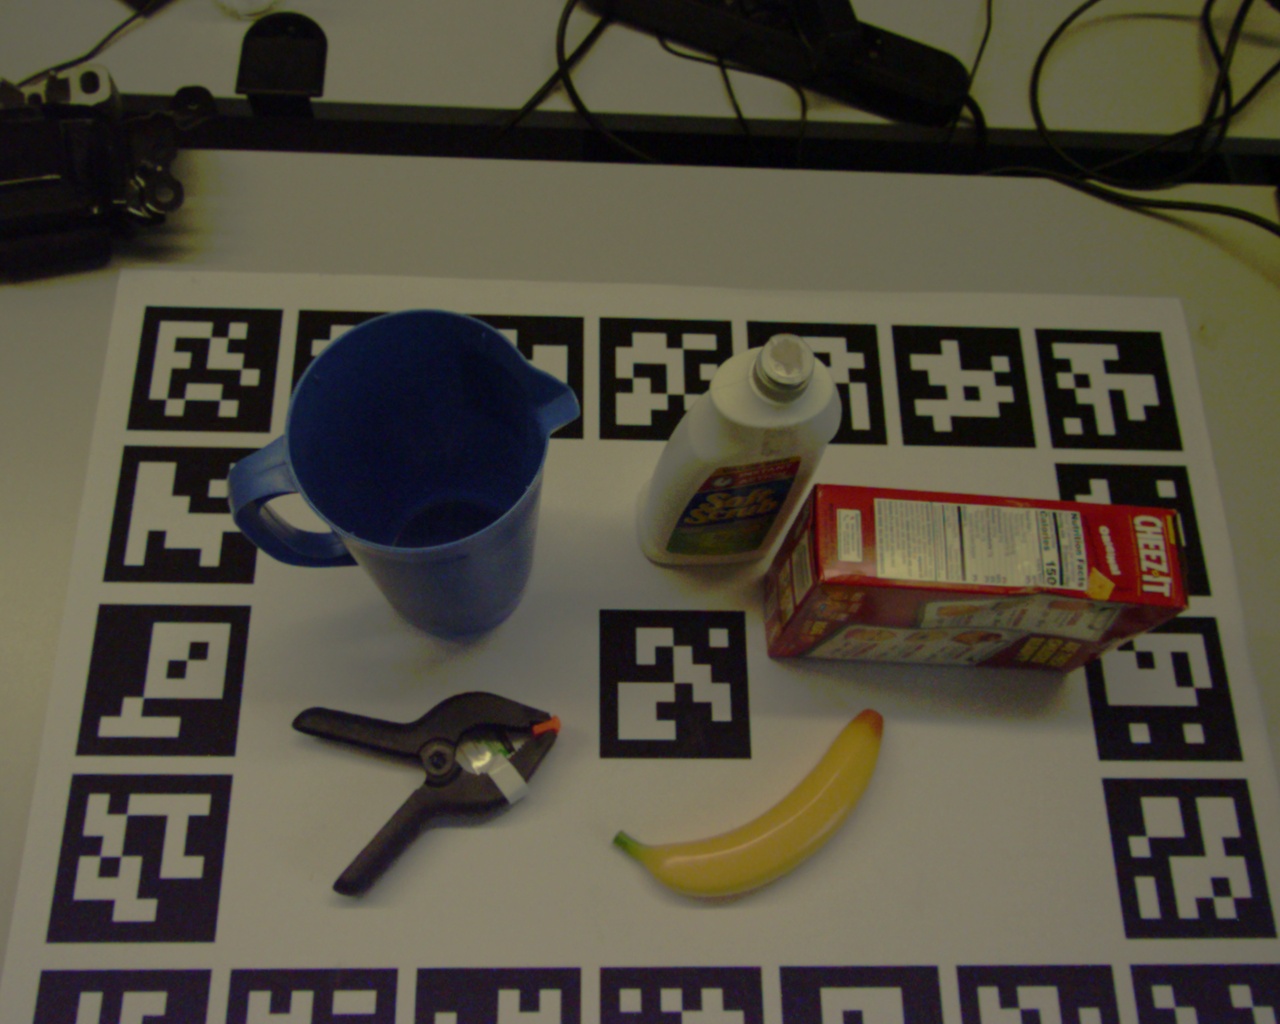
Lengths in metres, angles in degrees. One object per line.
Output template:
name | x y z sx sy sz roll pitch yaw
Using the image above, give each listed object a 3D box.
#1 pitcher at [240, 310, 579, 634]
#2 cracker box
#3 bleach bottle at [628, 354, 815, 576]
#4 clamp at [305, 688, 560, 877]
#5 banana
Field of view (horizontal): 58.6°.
pitcher | -0.135 -0.004 0.705 0.188 0.242 0.134 -15 70 -12
cracker box | 0.202 0.056 0.749 0.213 0.164 0.072 3 66 -1
bleach bottle | 0.051 -0.029 0.745 0.102 0.250 0.068 2 68 -3
clamp | -0.134 0.165 0.771 0.164 0.036 0.122 -14 68 -10
banana | 0.085 0.197 0.779 0.196 0.039 0.075 -31 73 -14
